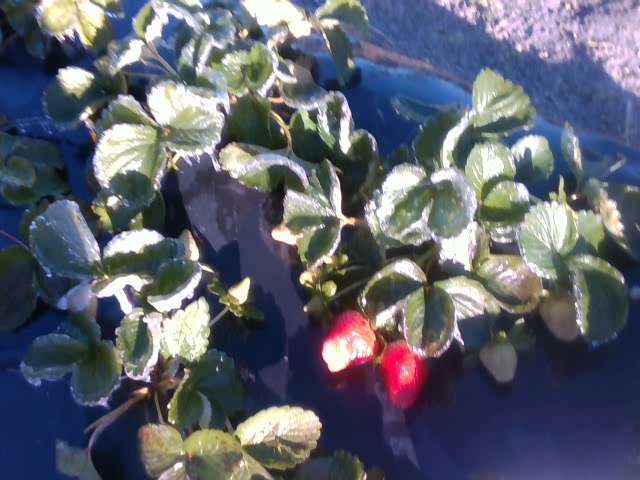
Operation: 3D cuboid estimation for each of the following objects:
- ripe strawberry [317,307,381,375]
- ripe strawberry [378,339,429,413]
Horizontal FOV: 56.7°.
[{"bbox_3d":[0.026,0.100,0.559,0.069,0.052,0.040,-44,-8,-10],"label":"ripe strawberry"},{"bbox_3d":[0.073,0.117,0.539,0.043,0.059,0.040,-4,-18,8],"label":"ripe strawberry"}]
